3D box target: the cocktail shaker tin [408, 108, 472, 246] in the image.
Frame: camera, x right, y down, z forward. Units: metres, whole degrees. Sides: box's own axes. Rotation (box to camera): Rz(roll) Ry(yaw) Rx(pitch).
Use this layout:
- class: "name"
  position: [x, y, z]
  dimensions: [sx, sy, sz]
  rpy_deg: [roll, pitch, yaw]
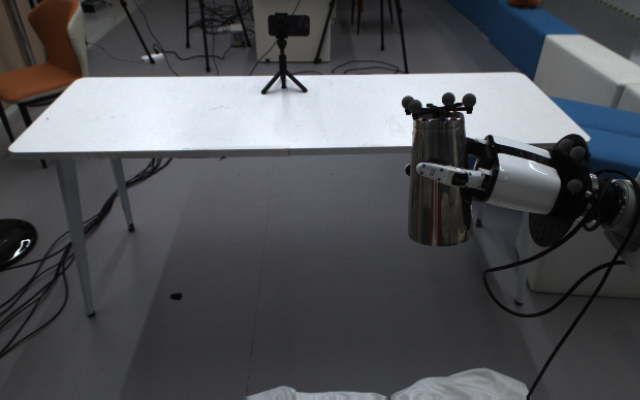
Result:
- class: "cocktail shaker tin"
  position: [0.166, -0.033, 0.670]
  dimensions: [0.093, 0.170, 0.093]
  rpy_deg: [-6, 19, 2]
